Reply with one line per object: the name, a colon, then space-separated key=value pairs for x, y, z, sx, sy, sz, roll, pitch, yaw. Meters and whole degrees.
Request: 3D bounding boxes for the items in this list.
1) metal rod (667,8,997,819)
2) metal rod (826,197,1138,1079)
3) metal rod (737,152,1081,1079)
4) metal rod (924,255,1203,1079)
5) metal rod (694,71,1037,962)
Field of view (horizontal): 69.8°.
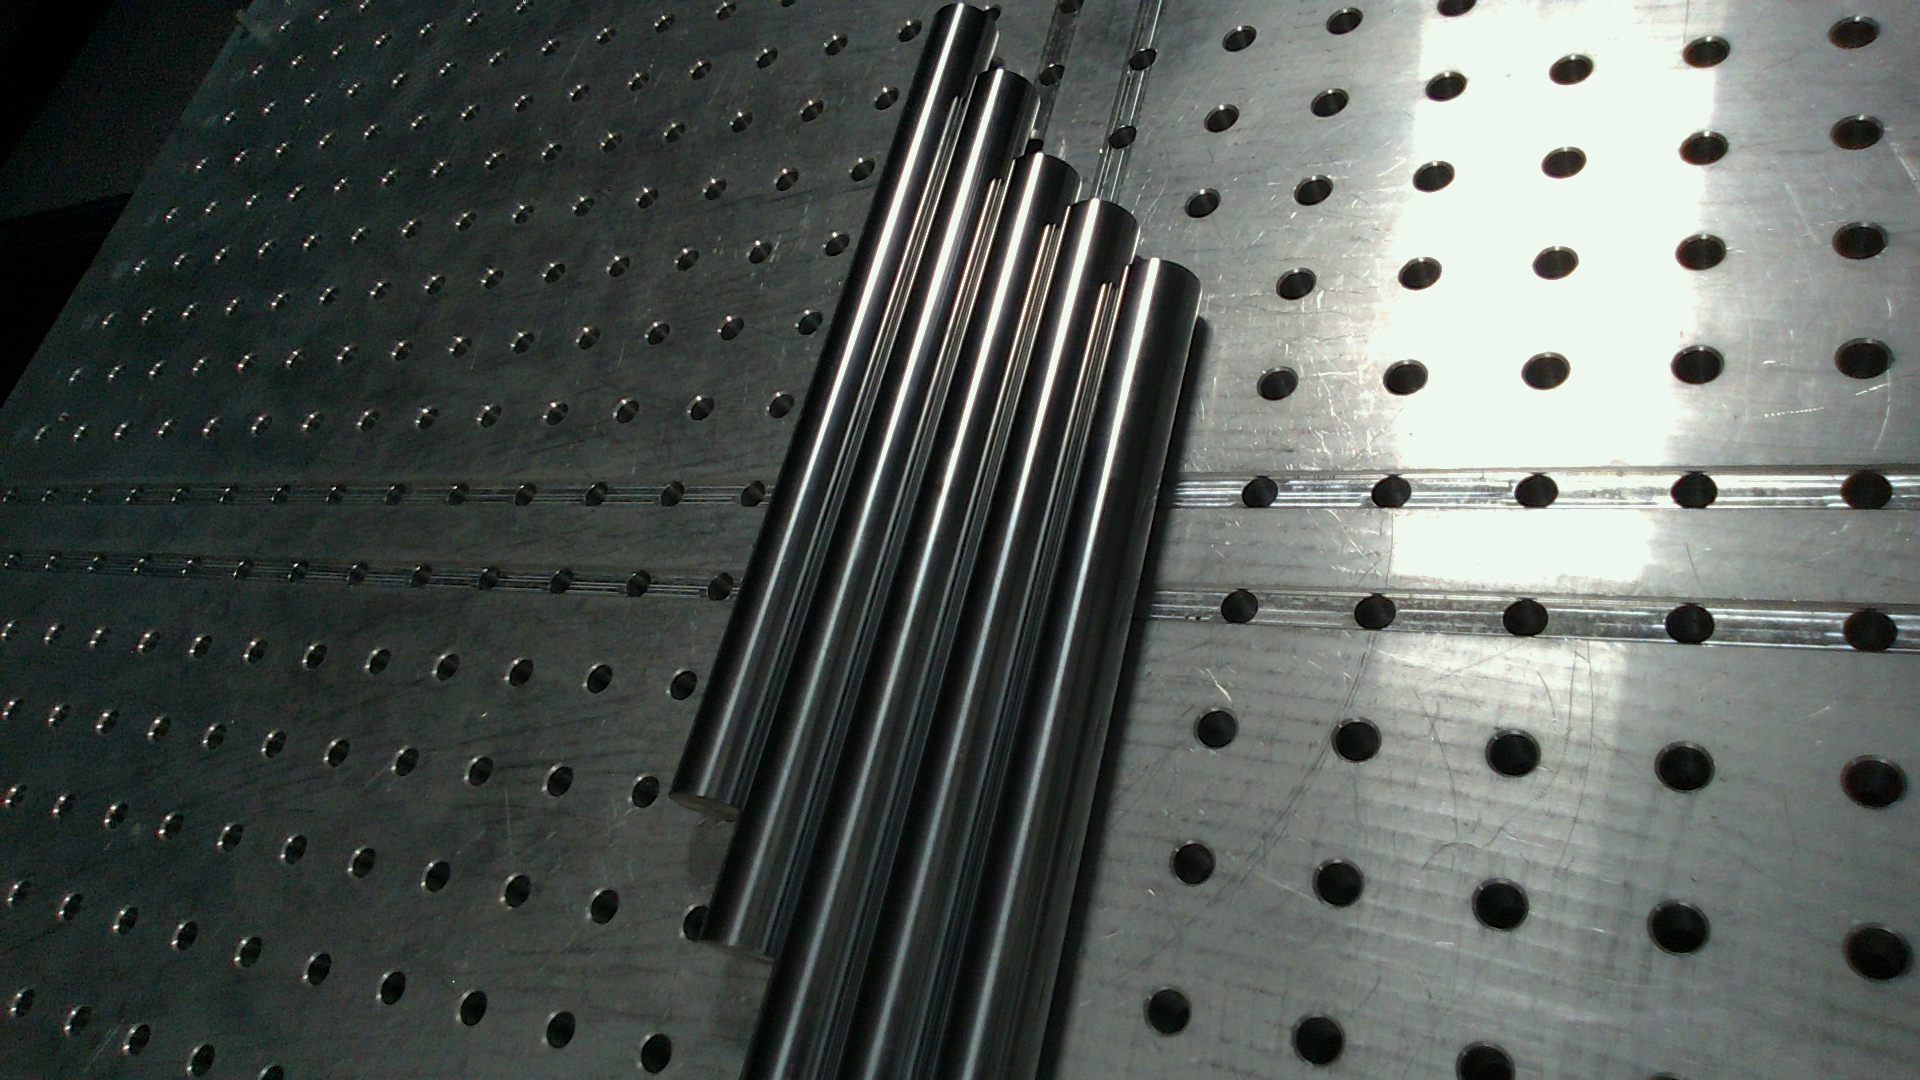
metal rod: x=-0.034 y=-0.056 z=0.450 sx=0.025 sy=0.025 sz=0.300 roll=1 pitch=62 yaw=29
metal rod: x=0.007 y=0.032 z=0.372 sx=0.025 sy=0.025 sz=0.300 roll=1 pitch=62 yaw=29
metal rod: x=-0.009 y=0.013 z=0.393 sx=0.025 sy=0.025 sz=0.300 roll=1 pitch=62 yaw=29
metal rod: x=0.024 y=0.055 z=0.349 sx=0.025 sy=0.025 sz=0.300 roll=1 pitch=62 yaw=29
metal rod: x=-0.021 y=-0.024 z=0.422 sx=0.025 sy=0.025 sz=0.300 roll=1 pitch=62 yaw=29
